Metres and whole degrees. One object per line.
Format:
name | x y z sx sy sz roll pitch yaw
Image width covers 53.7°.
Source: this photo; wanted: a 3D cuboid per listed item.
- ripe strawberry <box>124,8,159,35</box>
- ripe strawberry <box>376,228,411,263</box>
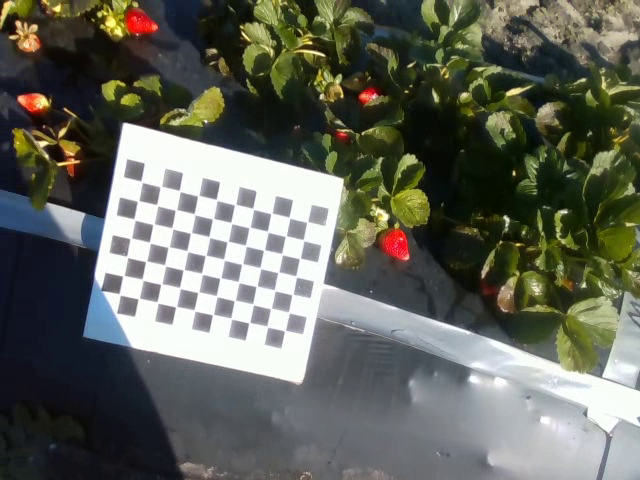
ripe strawberry | -0.289 -0.349 1.021 0.064 0.050 0.052 20 0 3
ripe strawberry | 0.109 0.008 0.899 0.048 0.055 0.029 -33 4 -4
